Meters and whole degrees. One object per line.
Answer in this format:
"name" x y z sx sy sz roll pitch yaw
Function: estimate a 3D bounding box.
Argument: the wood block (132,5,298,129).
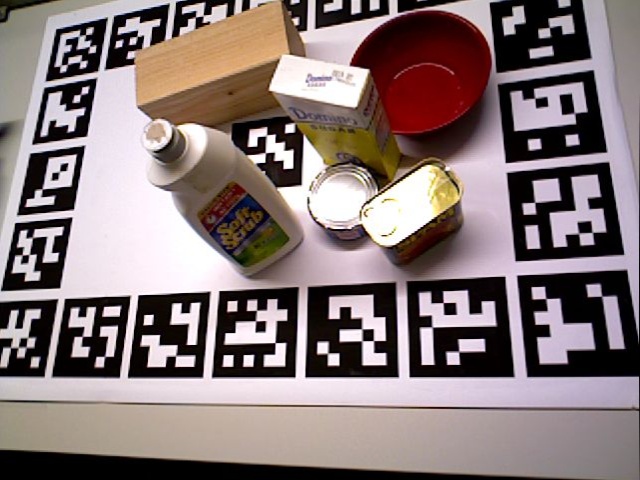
"wood block" -0.132 -0.205 0.693 0.207 0.090 0.090 -13 72 12

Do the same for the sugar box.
"sugar box" 0.024 -0.116 0.557 0.093 0.176 0.045 16 77 25

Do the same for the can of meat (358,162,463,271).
"can of meat" 0.096 -0.021 0.559 0.102 0.084 0.057 -32 61 3

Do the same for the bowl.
"bowl" 0.119 -0.178 0.617 0.163 0.055 0.160 -8 69 19

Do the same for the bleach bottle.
"bleach bottle" -0.104 -0.038 0.535 0.103 0.252 0.067 -28 63 5

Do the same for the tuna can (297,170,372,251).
"tuna can" 0.020 -0.032 0.608 0.086 0.034 0.085 -6 73 17
